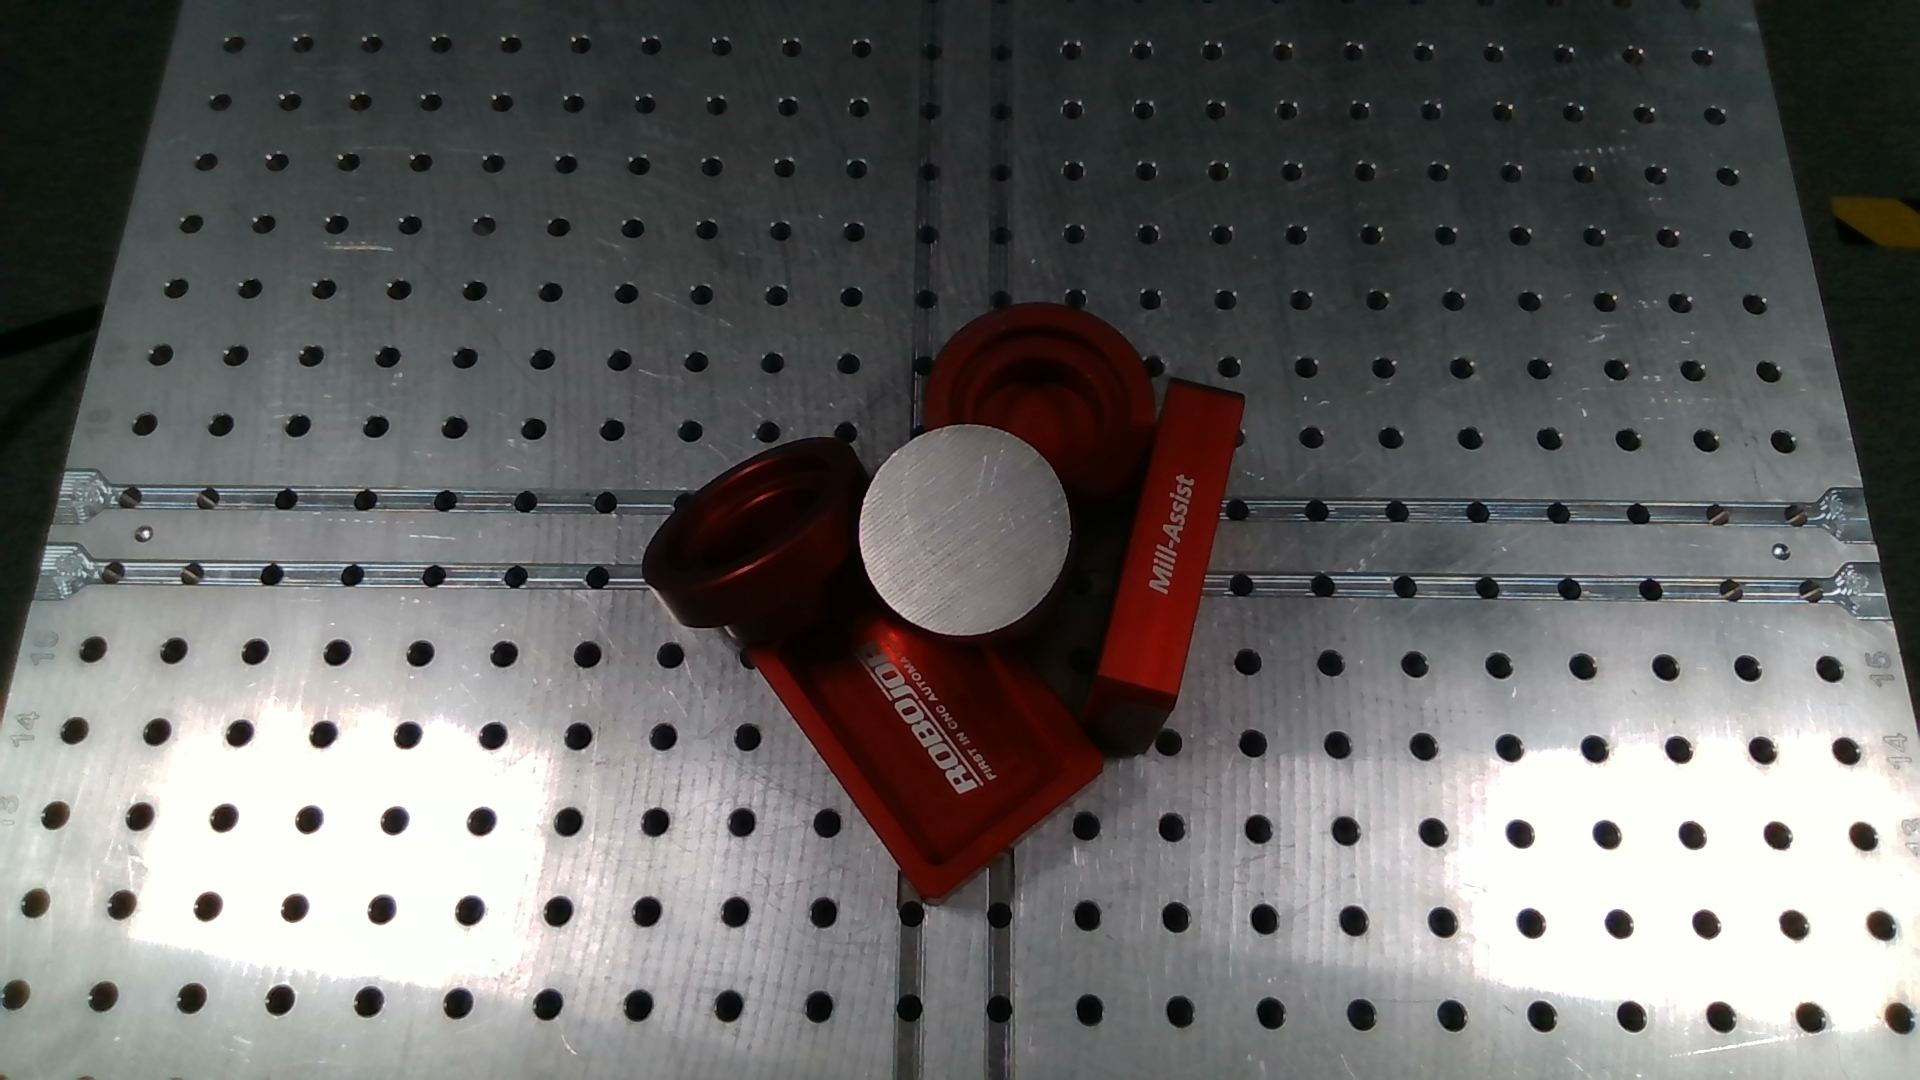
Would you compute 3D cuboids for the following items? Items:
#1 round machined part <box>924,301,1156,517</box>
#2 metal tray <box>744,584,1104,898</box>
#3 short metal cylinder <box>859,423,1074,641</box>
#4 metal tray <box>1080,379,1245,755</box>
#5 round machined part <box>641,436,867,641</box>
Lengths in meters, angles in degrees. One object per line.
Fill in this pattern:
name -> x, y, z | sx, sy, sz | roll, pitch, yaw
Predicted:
round machined part -> 0.034, -0.051, 0.600 | 0.098, 0.042, 0.098 | 0, 70, 0
metal tray -> -0.015, 0.069, 0.563 | 0.090, 0.030, 0.130 | -35, 74, -12
short metal cylinder -> 0.005, -0.001, 0.538 | 0.080, 0.050, 0.080 | -1, 82, 8
metal tray -> 0.079, 0.012, 0.551 | 0.030, 0.090, 0.130 | 14, 71, 5
round machined part -> -0.077, 0.003, 0.562 | 0.098, 0.042, 0.098 | -22, 30, 13
